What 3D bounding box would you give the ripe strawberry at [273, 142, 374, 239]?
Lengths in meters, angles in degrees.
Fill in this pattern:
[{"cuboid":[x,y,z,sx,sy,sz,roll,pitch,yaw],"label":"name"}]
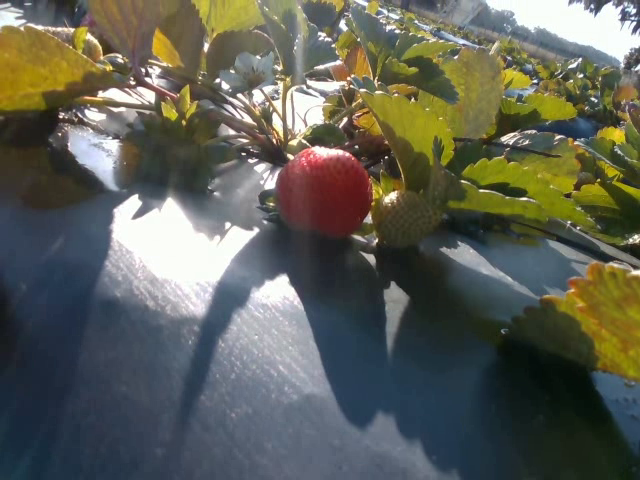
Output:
[{"cuboid":[0.004,-0.014,0.182,0.042,0.037,0.045,37,-29,7],"label":"ripe strawberry"}]
